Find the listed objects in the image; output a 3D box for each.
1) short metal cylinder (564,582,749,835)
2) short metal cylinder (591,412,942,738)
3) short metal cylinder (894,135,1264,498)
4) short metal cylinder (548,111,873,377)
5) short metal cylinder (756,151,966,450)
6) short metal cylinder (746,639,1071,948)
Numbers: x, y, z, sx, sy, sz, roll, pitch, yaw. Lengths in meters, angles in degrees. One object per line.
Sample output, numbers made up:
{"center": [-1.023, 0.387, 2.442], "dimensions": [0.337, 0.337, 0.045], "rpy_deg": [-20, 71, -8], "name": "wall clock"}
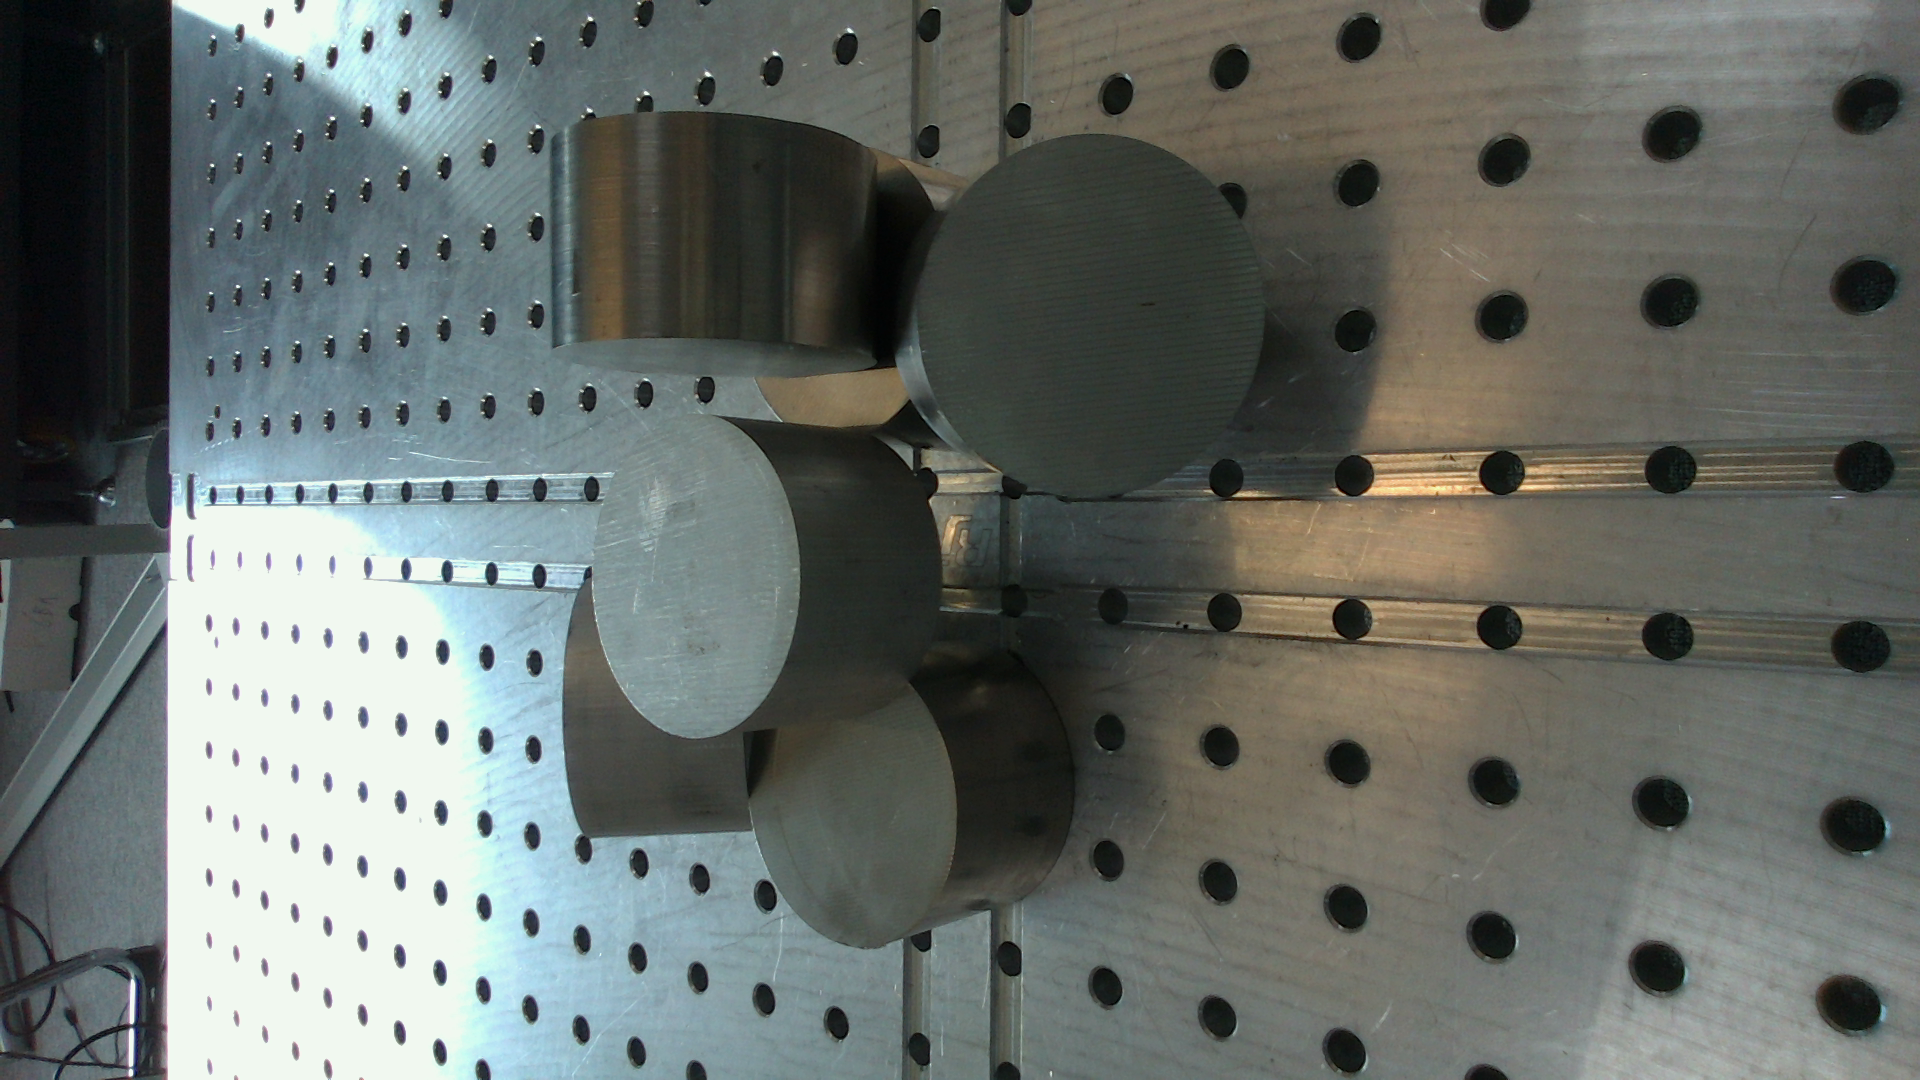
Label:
{"center": [-0.089, 0.051, 0.430], "dimensions": [0.050, 0.080, 0.080], "rpy_deg": [-2, 89, -4], "name": "short metal cylinder"}
{"center": [-0.051, 0.009, 0.358], "dimensions": [0.080, 0.050, 0.080], "rpy_deg": [0, 90, 40], "name": "short metal cylinder"}
{"center": [0.026, -0.053, 0.331], "dimensions": [0.050, 0.080, 0.080], "rpy_deg": [-138, 56, -78], "name": "short metal cylinder"}
{"center": [-0.062, -0.071, 0.347], "dimensions": [0.080, 0.080, 0.050], "rpy_deg": [0, 90, 40], "name": "short metal cylinder"}
{"center": [-0.018, -0.067, 0.396], "dimensions": [0.080, 0.050, 0.080], "rpy_deg": [1, 91, 40], "name": "short metal cylinder"}
{"center": [-0.015, 0.070, 0.394], "dimensions": [0.080, 0.050, 0.080], "rpy_deg": [1, 91, 40], "name": "short metal cylinder"}
